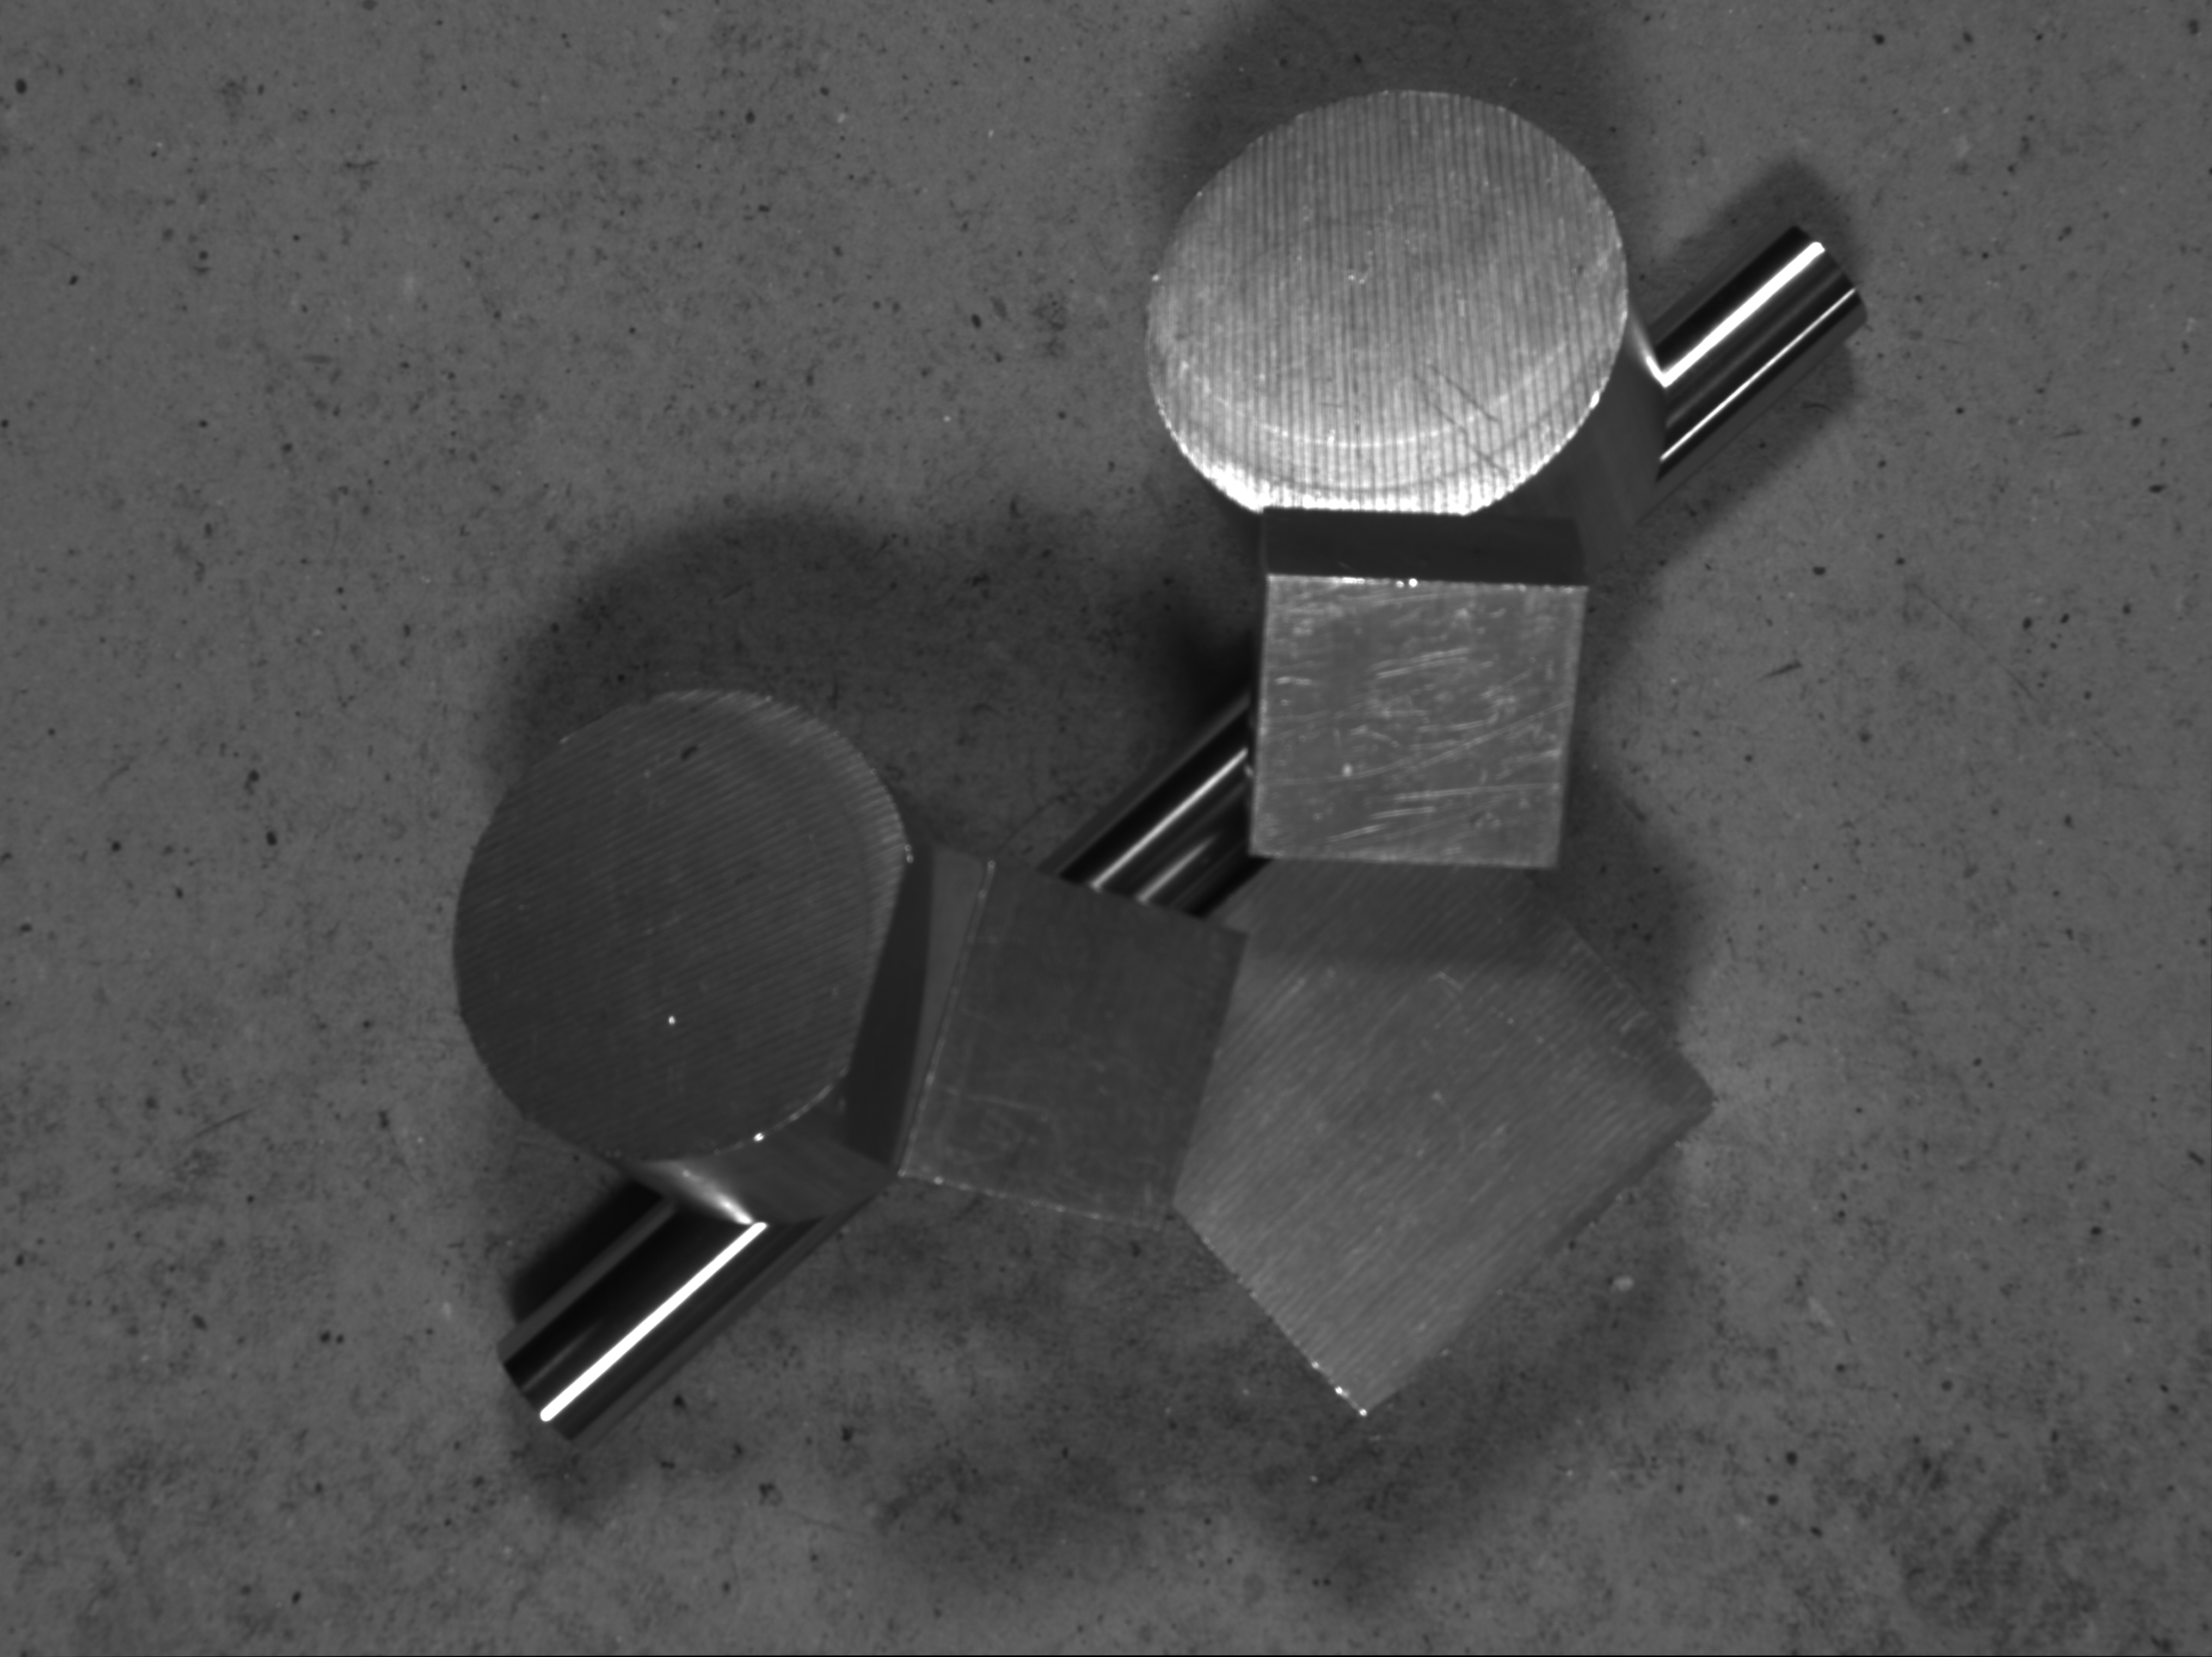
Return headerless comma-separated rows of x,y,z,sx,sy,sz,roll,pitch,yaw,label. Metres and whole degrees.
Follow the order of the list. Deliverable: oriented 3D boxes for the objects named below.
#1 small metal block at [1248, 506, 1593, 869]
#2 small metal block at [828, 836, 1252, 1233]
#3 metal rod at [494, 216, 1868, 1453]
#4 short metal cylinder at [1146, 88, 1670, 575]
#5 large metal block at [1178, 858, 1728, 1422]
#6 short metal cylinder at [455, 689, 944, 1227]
0.049,-0.022,0.583,0.050,0.025,0.050,2,120,0,small metal block
-0.010,0.033,0.583,0.050,0.025,0.050,16,90,-32,small metal block
0.013,0.001,0.645,0.300,0.025,0.025,-41,90,0,metal rod
0.052,-0.077,0.619,0.080,0.050,0.080,-5,71,15,short metal cylinder
0.046,0.042,0.631,0.080,0.050,0.080,-41,90,0,large metal block
-0.062,0.023,0.618,0.080,0.050,0.080,-5,71,14,short metal cylinder
